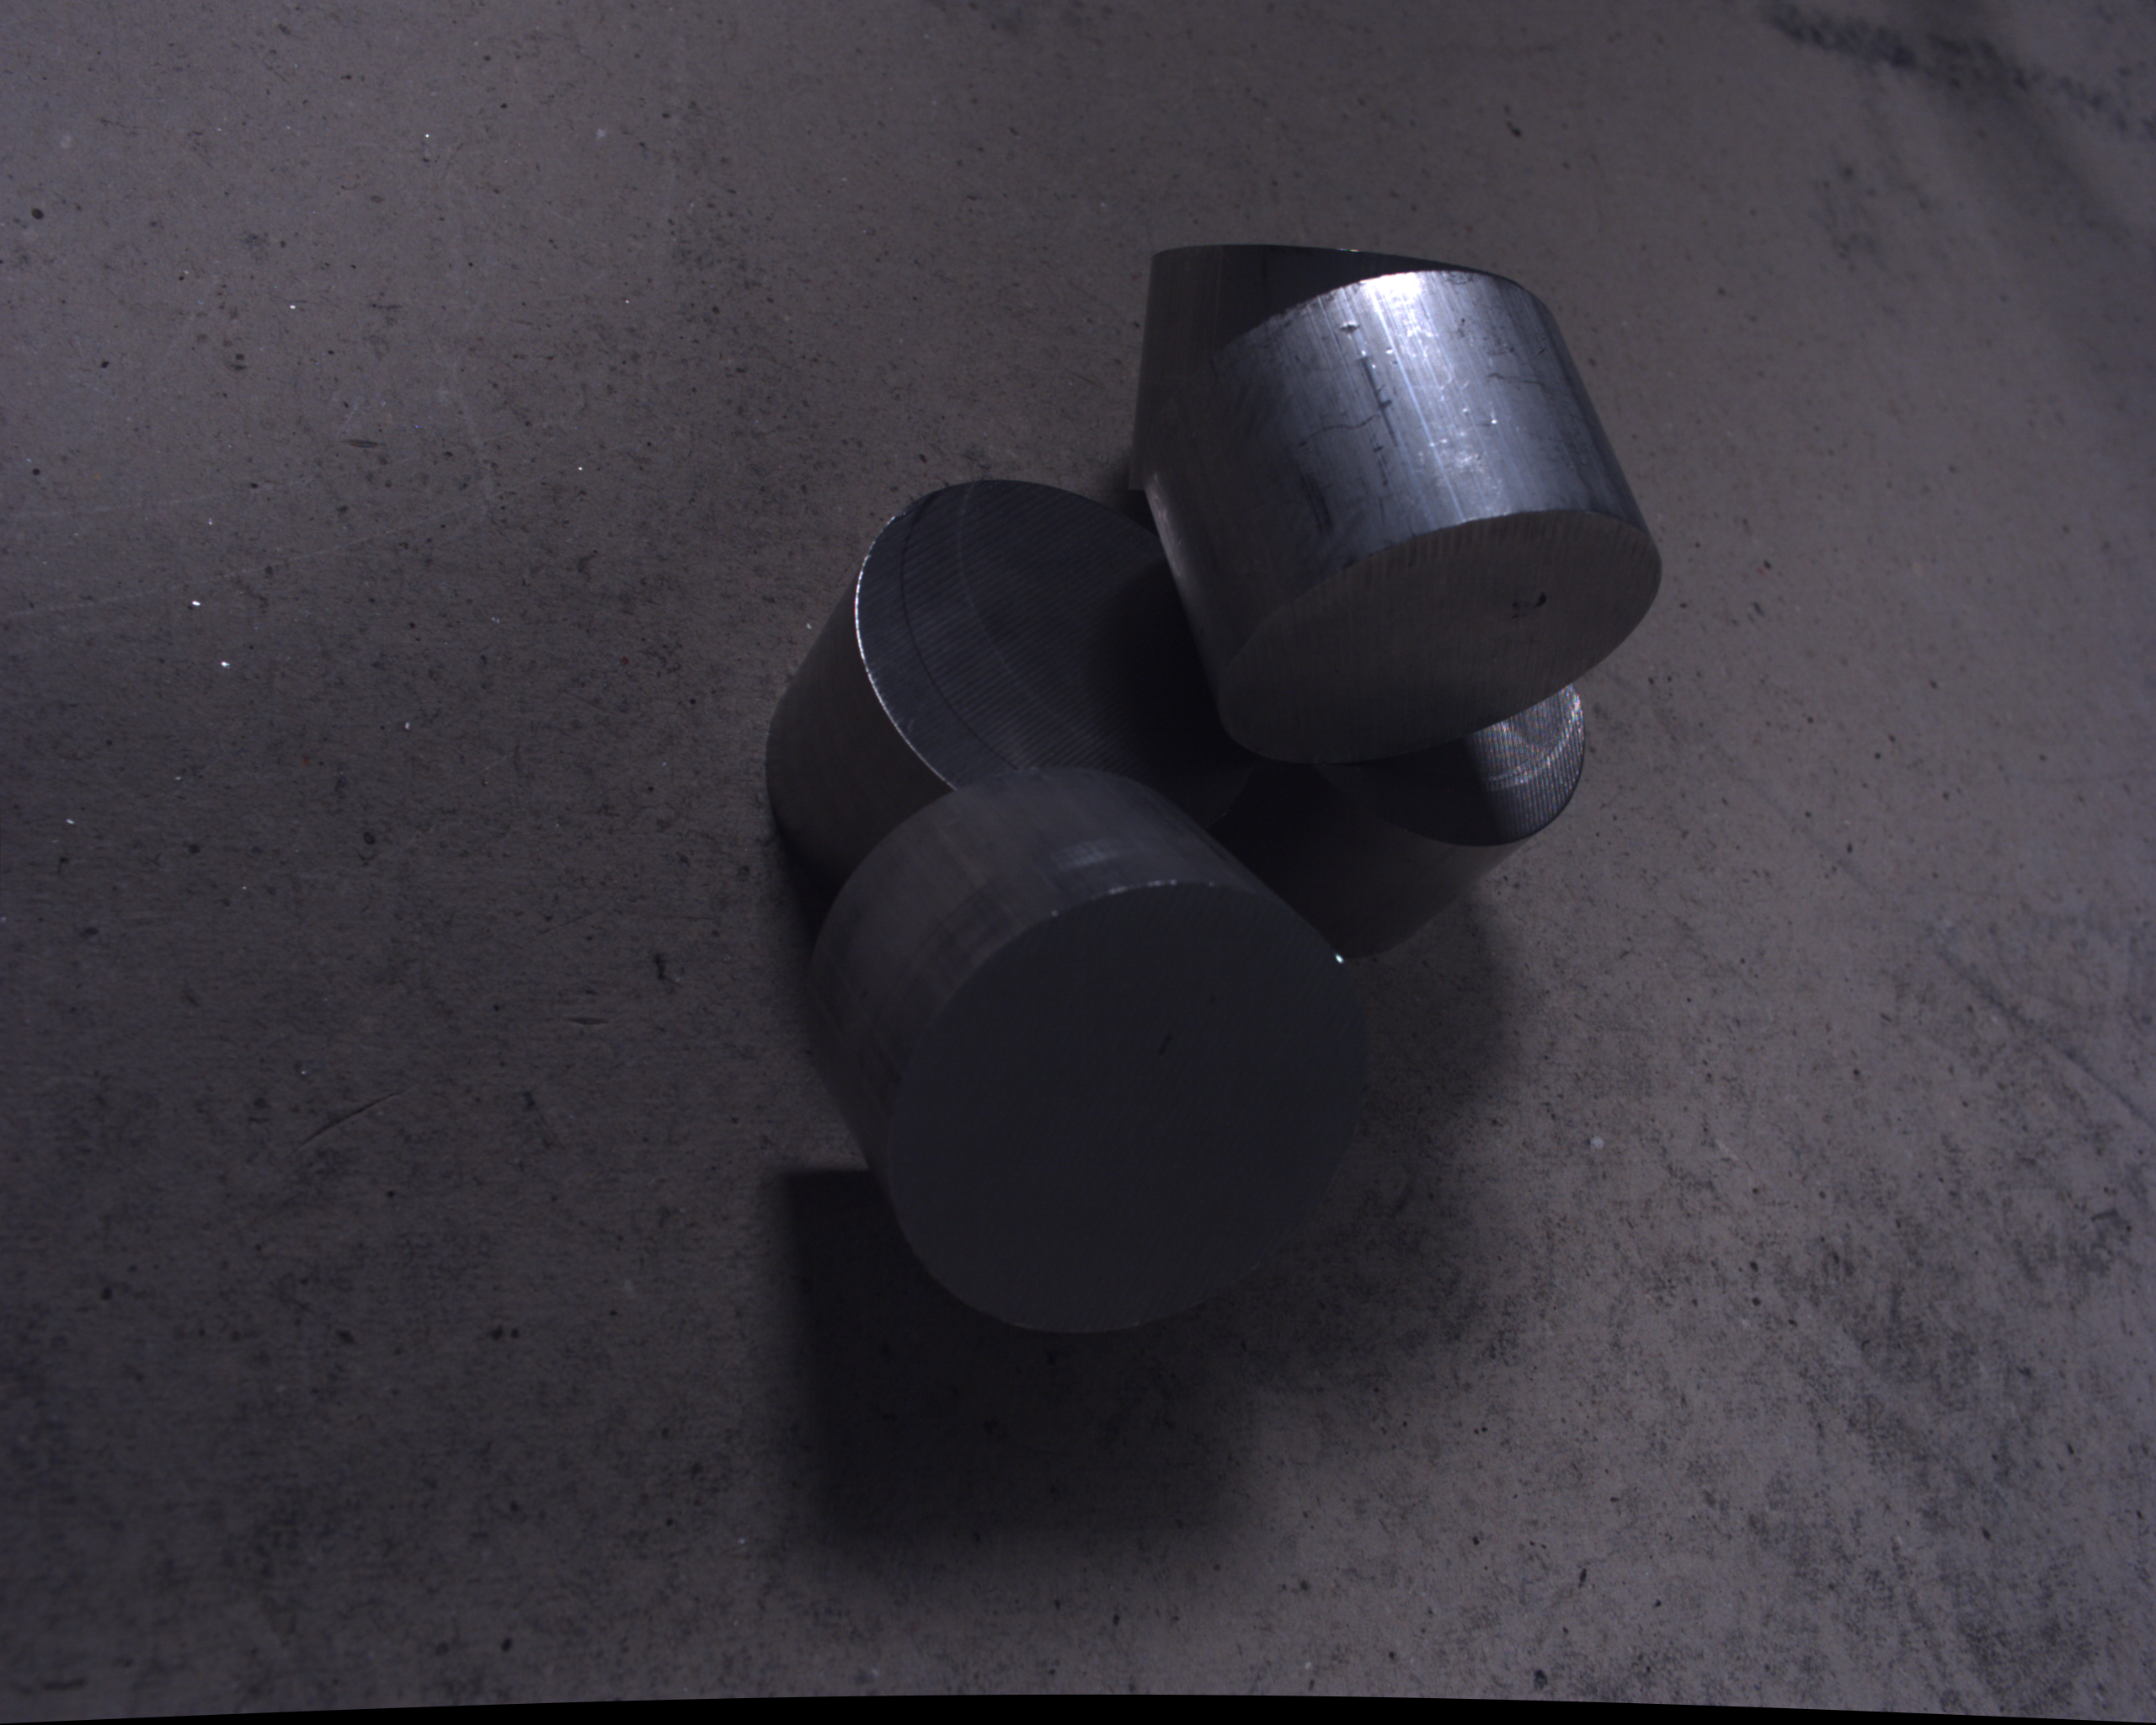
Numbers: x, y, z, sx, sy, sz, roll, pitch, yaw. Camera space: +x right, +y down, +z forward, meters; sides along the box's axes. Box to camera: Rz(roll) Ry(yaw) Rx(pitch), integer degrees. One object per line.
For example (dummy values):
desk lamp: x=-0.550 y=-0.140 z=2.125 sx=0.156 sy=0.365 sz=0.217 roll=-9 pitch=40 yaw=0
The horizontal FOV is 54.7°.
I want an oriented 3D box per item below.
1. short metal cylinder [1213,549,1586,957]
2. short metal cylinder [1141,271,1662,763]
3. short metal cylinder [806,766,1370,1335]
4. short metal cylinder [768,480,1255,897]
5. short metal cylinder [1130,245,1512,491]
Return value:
short metal cylinder: x=0.058 y=-0.027 z=0.438 sx=0.081 sy=0.050 sz=0.080 roll=14 pitch=56 yaw=-21
short metal cylinder: x=0.057 y=-0.059 z=0.374 sx=0.081 sy=0.080 sz=0.050 roll=-2 pitch=63 yaw=-29
short metal cylinder: x=0.001 y=0.030 z=0.345 sx=0.081 sy=0.079 sz=0.050 roll=7 pitch=20 yaw=-25
short metal cylinder: x=-0.013 y=-0.026 z=0.399 sx=0.081 sy=0.050 sz=0.080 roll=14 pitch=56 yaw=-21
short metal cylinder: x=0.054 y=-0.102 z=0.454 sx=0.081 sy=0.080 sz=0.050 roll=1 pitch=100 yaw=-28
